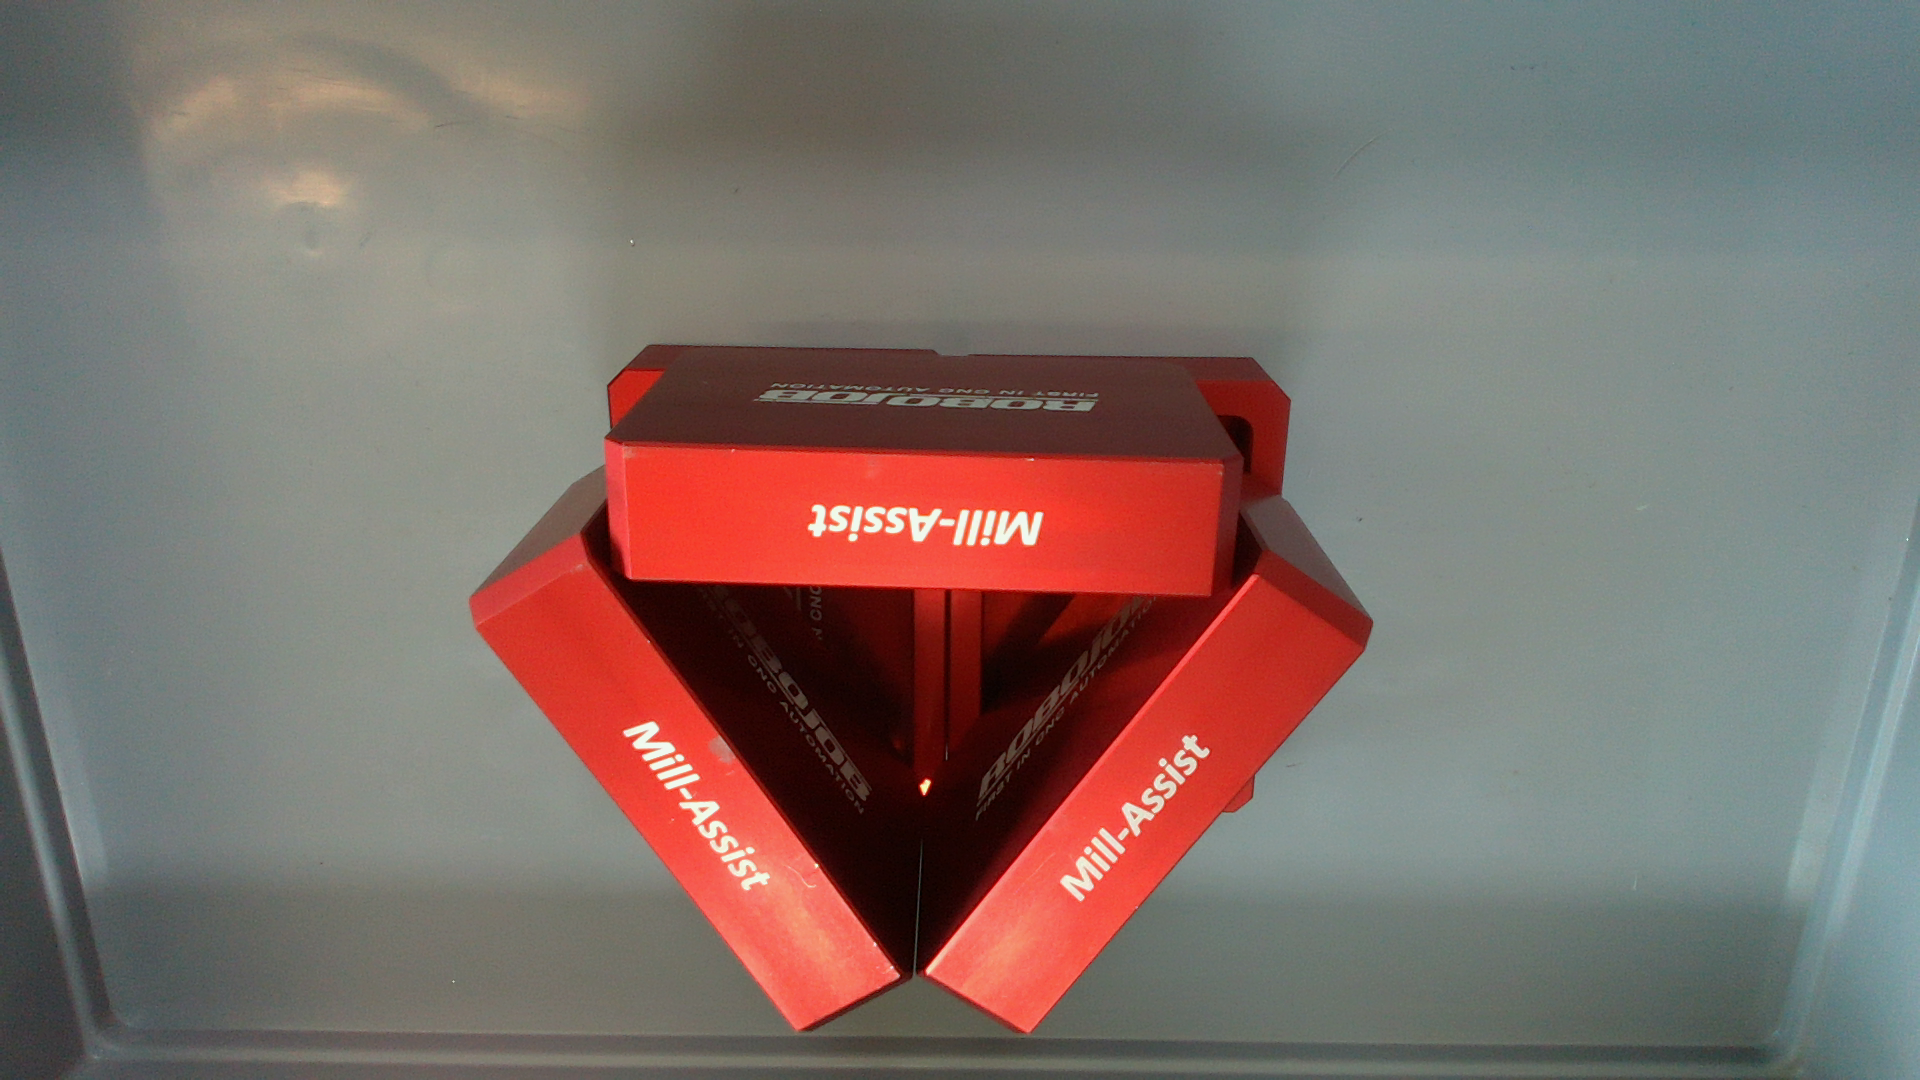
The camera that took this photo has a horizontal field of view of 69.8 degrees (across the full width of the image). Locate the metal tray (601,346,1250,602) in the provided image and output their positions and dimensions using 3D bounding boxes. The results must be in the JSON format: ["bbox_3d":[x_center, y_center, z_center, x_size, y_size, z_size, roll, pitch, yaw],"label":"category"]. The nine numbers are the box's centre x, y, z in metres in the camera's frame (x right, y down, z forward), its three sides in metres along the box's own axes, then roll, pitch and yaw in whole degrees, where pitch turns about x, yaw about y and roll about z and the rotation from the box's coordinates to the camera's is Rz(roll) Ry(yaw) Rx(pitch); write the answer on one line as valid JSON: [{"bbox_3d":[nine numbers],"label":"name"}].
[{"bbox_3d":[-0.007,-0.019,0.318,0.130,0.090,0.030,2,111,-1],"label":"metal tray"}]

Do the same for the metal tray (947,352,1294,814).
[{"bbox_3d":[0.042,0.014,0.396,0.090,0.030,0.130,1,109,0],"label":"metal tray"}]

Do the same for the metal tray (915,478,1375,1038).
[{"bbox_3d":[0.039,0.047,0.342,0.030,0.090,0.130,33,107,-11],"label":"metal tray"}]

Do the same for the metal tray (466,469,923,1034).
[{"bbox_3d":[-0.057,0.044,0.341,0.030,0.090,0.130,-29,108,11],"label":"metal tray"}]

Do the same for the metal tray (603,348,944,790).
[{"bbox_3d":[-0.049,0.012,0.395,0.090,0.030,0.130,0,109,0],"label":"metal tray"}]
